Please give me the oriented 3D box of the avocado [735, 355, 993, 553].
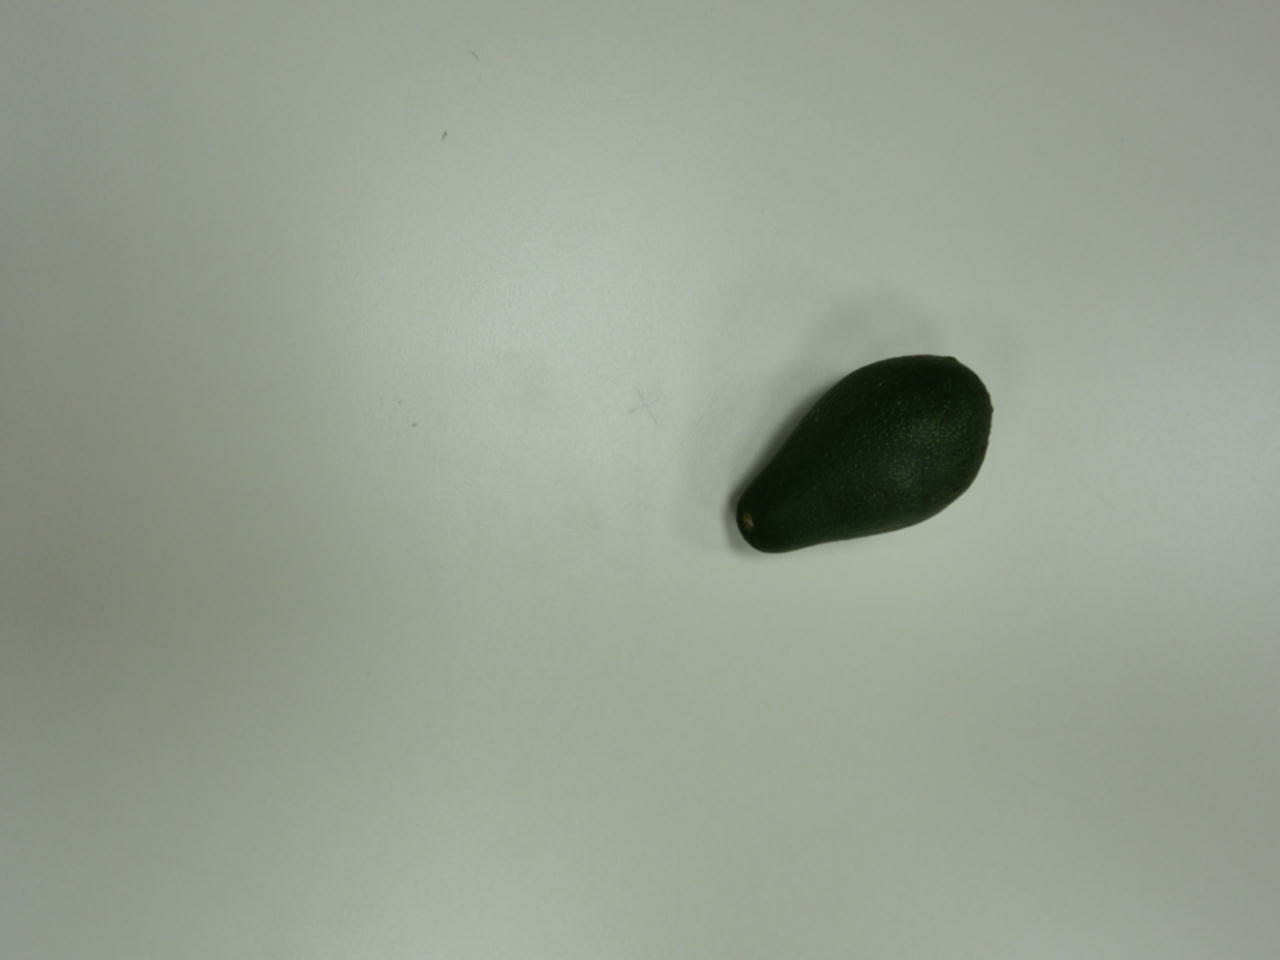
[{"bbox_3d":[0.095,-0.012,0.423,0.109,0.071,0.072,-13,92,-11],"label":"avocado"}]
